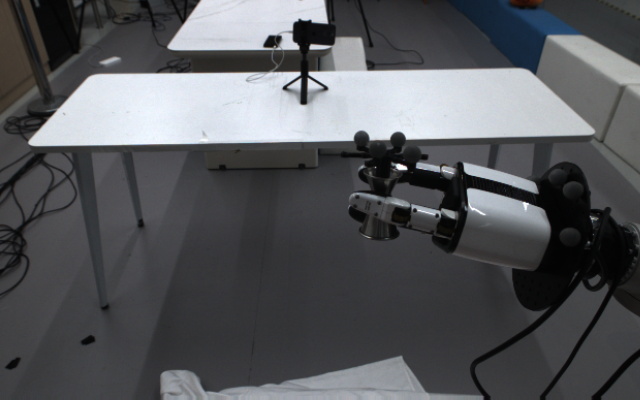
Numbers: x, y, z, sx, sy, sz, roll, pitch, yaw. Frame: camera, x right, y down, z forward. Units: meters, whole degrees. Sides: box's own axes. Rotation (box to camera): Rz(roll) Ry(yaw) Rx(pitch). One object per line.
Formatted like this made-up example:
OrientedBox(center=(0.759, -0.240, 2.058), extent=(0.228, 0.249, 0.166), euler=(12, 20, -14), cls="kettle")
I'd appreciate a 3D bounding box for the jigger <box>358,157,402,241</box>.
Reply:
OrientedBox(center=(0.064, 0.002, 0.517), extent=(0.043, 0.071, 0.043), euler=(1, 20, 0), cls="jigger")
